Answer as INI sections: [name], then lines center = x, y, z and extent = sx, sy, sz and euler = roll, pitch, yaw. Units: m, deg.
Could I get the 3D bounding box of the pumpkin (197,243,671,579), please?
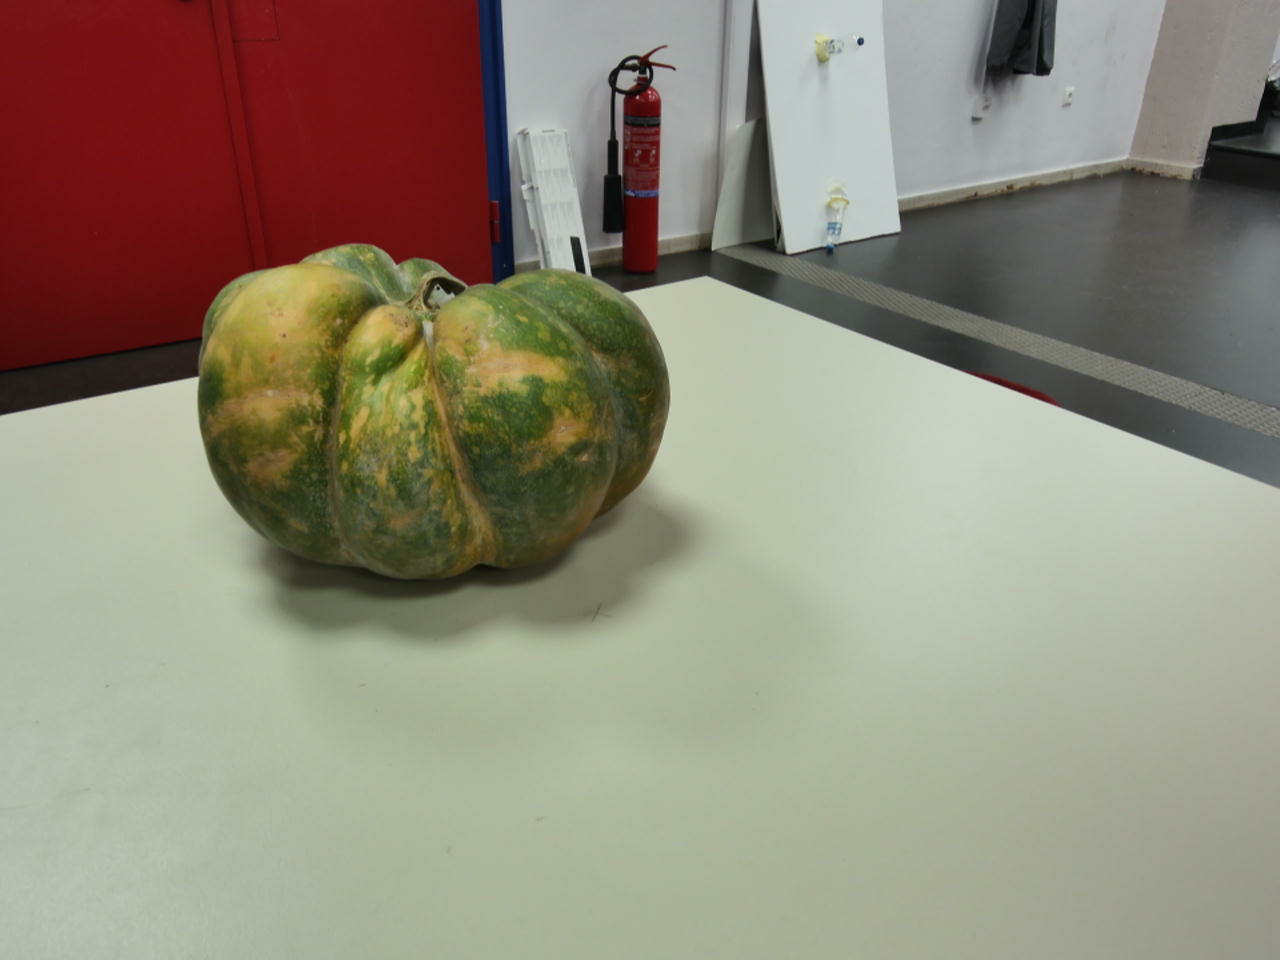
[pumpkin]
center = -0.119, -0.048, 0.563
extent = 0.270, 0.173, 0.237
euler = 1, 26, 1
